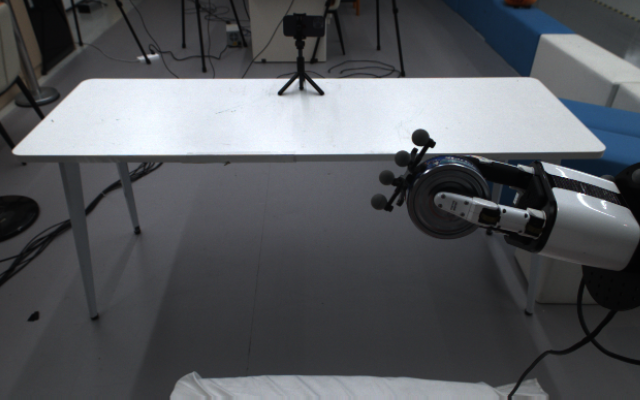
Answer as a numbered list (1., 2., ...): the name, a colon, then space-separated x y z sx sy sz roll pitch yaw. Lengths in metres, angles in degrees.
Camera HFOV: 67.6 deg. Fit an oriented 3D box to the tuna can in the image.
1. tuna can: 0.136 -0.006 0.511 0.085 0.085 0.034 3 20 1
